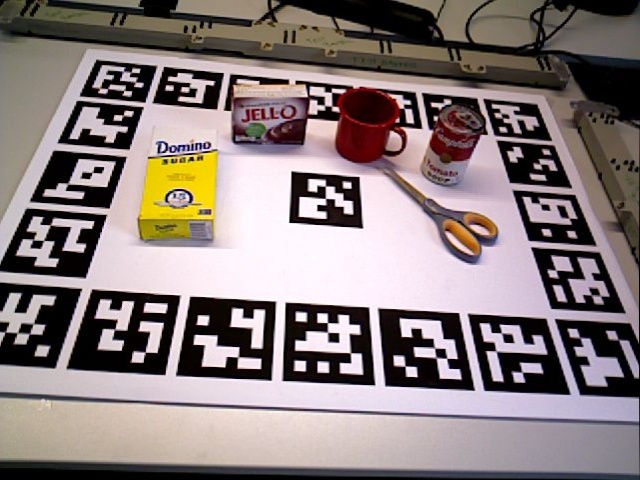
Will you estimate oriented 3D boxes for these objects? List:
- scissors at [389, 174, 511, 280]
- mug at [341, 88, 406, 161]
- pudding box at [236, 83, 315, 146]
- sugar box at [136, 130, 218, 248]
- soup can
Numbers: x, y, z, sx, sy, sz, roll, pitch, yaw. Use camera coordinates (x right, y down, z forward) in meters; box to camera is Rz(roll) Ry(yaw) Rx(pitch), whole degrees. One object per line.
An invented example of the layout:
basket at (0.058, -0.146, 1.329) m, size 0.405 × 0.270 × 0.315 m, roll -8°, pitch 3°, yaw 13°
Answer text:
scissors at (0.171, -0.033, 0.756) m, size 0.086 × 0.016 × 0.202 m, roll -38°, pitch 67°, yaw -19°
mug at (0.083, -0.166, 0.803) m, size 0.091 × 0.083 × 0.117 m, roll -29°, pitch 61°, yaw -23°
pudding box at (-0.064, -0.181, 0.784) m, size 0.112 × 0.092 × 0.038 m, roll -3°, pitch 60°, yaw -11°
sugar box at (-0.185, -0.071, 0.723) m, size 0.092 × 0.046 × 0.174 m, roll 0°, pitch 55°, yaw -6°
soup can at (0.197, -0.128, 0.787) m, size 0.067 × 0.104 × 0.067 m, roll 3°, pitch 51°, yaw -5°
